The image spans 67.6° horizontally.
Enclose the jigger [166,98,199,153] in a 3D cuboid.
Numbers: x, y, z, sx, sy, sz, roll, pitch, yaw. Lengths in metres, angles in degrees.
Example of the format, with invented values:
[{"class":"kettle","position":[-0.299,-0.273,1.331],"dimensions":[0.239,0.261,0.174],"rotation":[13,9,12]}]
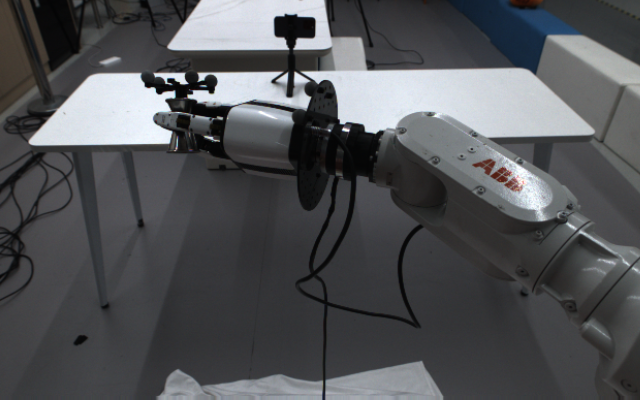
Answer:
[{"class":"jigger","position":[-0.179,-0.095,0.631],"dimensions":[0.043,0.071,0.043],"rotation":[-2,4,0]}]
